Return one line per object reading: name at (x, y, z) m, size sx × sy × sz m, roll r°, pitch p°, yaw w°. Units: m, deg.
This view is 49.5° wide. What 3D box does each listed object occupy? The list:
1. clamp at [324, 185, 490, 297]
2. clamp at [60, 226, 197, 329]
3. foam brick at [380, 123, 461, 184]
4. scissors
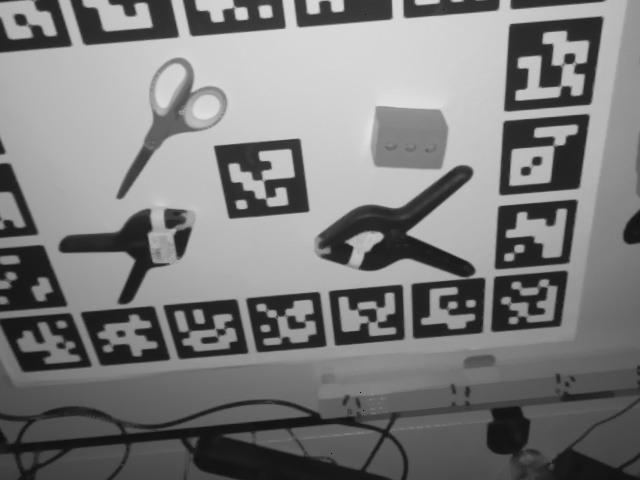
clamp at (0.106, 0.016, 0.853) m, size 0.202 × 0.037 × 0.164 m, roll -8°, pitch 125°, yaw 4°
clamp at (-0.221, 0.033, 0.855) m, size 0.164 × 0.037 × 0.122 m, roll -29°, pitch 111°, yaw 14°
foam brick at (0.111, -0.097, 0.777) m, size 0.078 × 0.051 × 0.052 m, roll 0°, pitch 121°, yaw -7°
scissors at (-0.171, -0.096, 0.780) m, size 0.088 × 0.016 × 0.200 m, roll 33°, pitch 117°, yaw -12°
